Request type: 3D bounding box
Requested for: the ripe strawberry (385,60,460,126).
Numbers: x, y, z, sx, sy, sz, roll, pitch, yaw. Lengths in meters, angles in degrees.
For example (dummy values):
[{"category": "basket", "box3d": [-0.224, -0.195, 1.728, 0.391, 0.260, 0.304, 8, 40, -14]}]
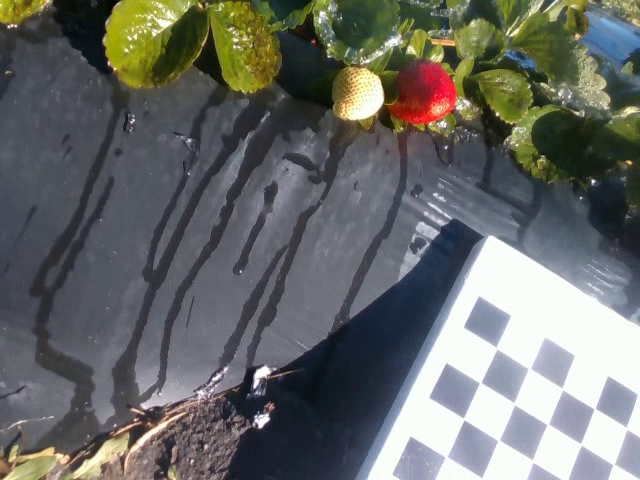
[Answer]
[{"category": "ripe strawberry", "box3d": [0.066, -0.087, 0.331, 0.042, 0.046, 0.061, 19, 30, -5]}]
